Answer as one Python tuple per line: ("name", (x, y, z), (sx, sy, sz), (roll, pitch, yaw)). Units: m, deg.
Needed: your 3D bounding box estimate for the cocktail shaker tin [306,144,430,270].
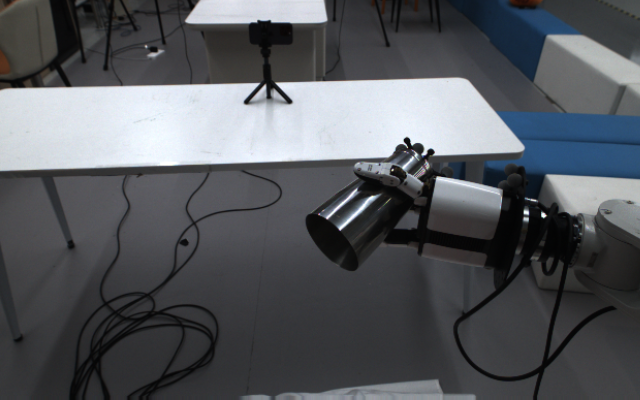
("cocktail shaker tin", (0.074, -0.001, 0.641), (0.170, 0.093, 0.093), (-38, 50, -24))
